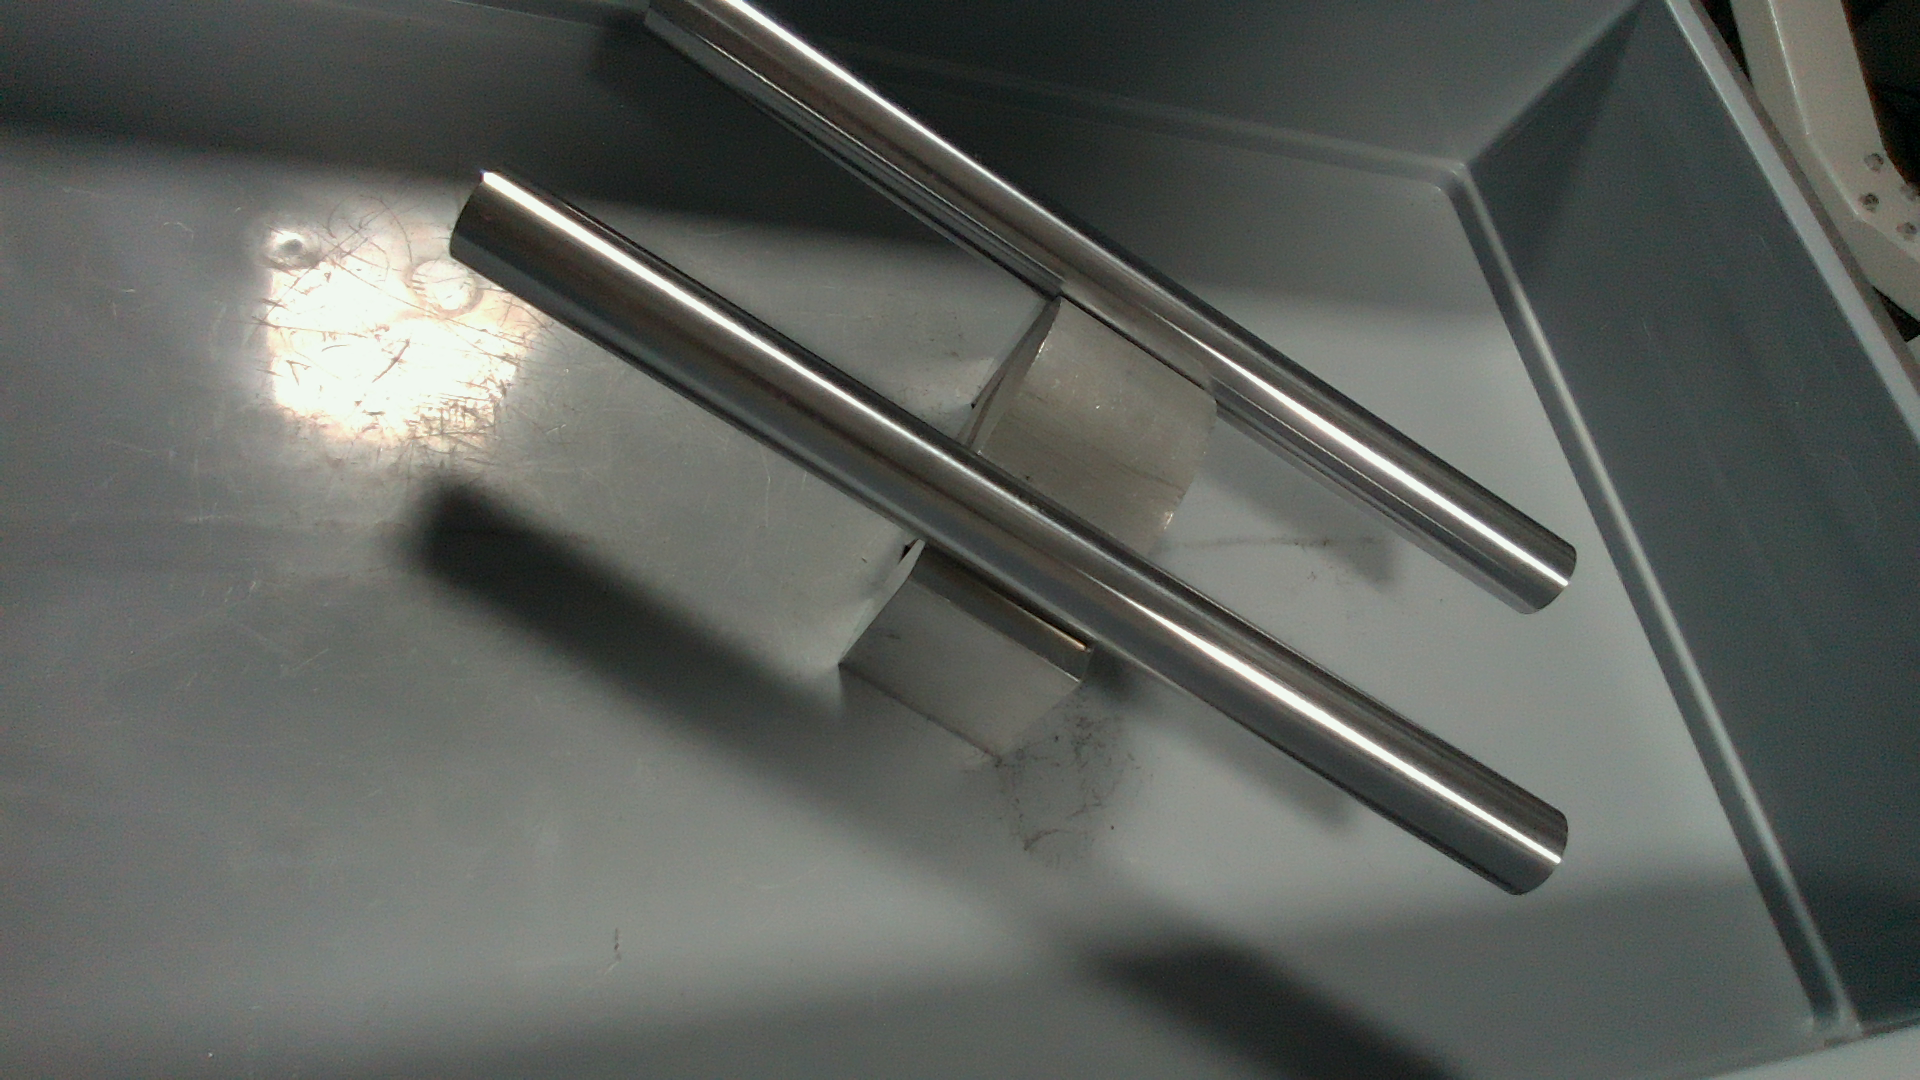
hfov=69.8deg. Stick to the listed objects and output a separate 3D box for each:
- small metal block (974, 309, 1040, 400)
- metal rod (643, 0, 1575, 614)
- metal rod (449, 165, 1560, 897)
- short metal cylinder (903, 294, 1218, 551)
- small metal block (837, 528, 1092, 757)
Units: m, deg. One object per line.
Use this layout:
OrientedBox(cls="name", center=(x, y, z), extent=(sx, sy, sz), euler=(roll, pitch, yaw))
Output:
OrientedBox(cls="small metal block", center=(0.039, -0.050, 0.424), extent=(0.050, 0.050, 0.025), euler=(32, 51, -7))
OrientedBox(cls="metal rod", center=(0.048, -0.067, 0.391), extent=(0.300, 0.025, 0.025), euler=(32, 51, -8))
OrientedBox(cls="metal rod", center=(0.018, 0.003, 0.333), extent=(0.300, 0.025, 0.025), euler=(31, 52, -8))
OrientedBox(cls="short metal cylinder", center=(0.027, -0.020, 0.380), extent=(0.050, 0.080, 0.080), euler=(32, 51, -7))
OrientedBox(cls="small metal block", center=(0.003, 0.025, 0.358), extent=(0.050, 0.050, 0.025), euler=(32, 51, -7))
